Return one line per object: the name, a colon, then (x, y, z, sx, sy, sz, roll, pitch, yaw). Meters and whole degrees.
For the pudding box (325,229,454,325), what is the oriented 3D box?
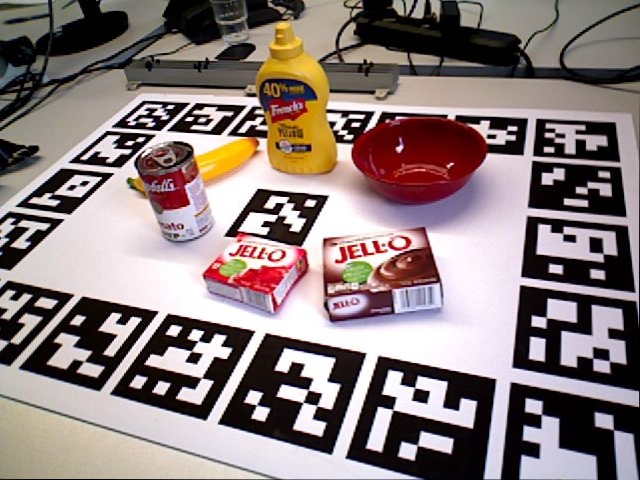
pudding box: (0.065, 0.034, 0.537, 0.113, 0.039, 0.088, -9, 45, 1)

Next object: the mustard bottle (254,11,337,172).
mustard bottle: (-0.033, -0.182, 0.676, 0.096, 0.195, 0.057, 8, 39, 19)

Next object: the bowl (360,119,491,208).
bowl: (0.130, -0.087, 0.660, 0.161, 0.056, 0.159, -7, 38, 5)

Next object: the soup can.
soup can: (-0.175, -0.062, 0.637, 0.068, 0.104, 0.067, -4, 39, 2)

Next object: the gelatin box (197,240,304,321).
gelatin box: (-0.072, 0.039, 0.566, 0.090, 0.031, 0.071, 12, 47, 25)

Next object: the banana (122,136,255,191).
banana: (-0.174, -0.105, 0.754, 0.194, 0.039, 0.074, -24, 31, -17)
